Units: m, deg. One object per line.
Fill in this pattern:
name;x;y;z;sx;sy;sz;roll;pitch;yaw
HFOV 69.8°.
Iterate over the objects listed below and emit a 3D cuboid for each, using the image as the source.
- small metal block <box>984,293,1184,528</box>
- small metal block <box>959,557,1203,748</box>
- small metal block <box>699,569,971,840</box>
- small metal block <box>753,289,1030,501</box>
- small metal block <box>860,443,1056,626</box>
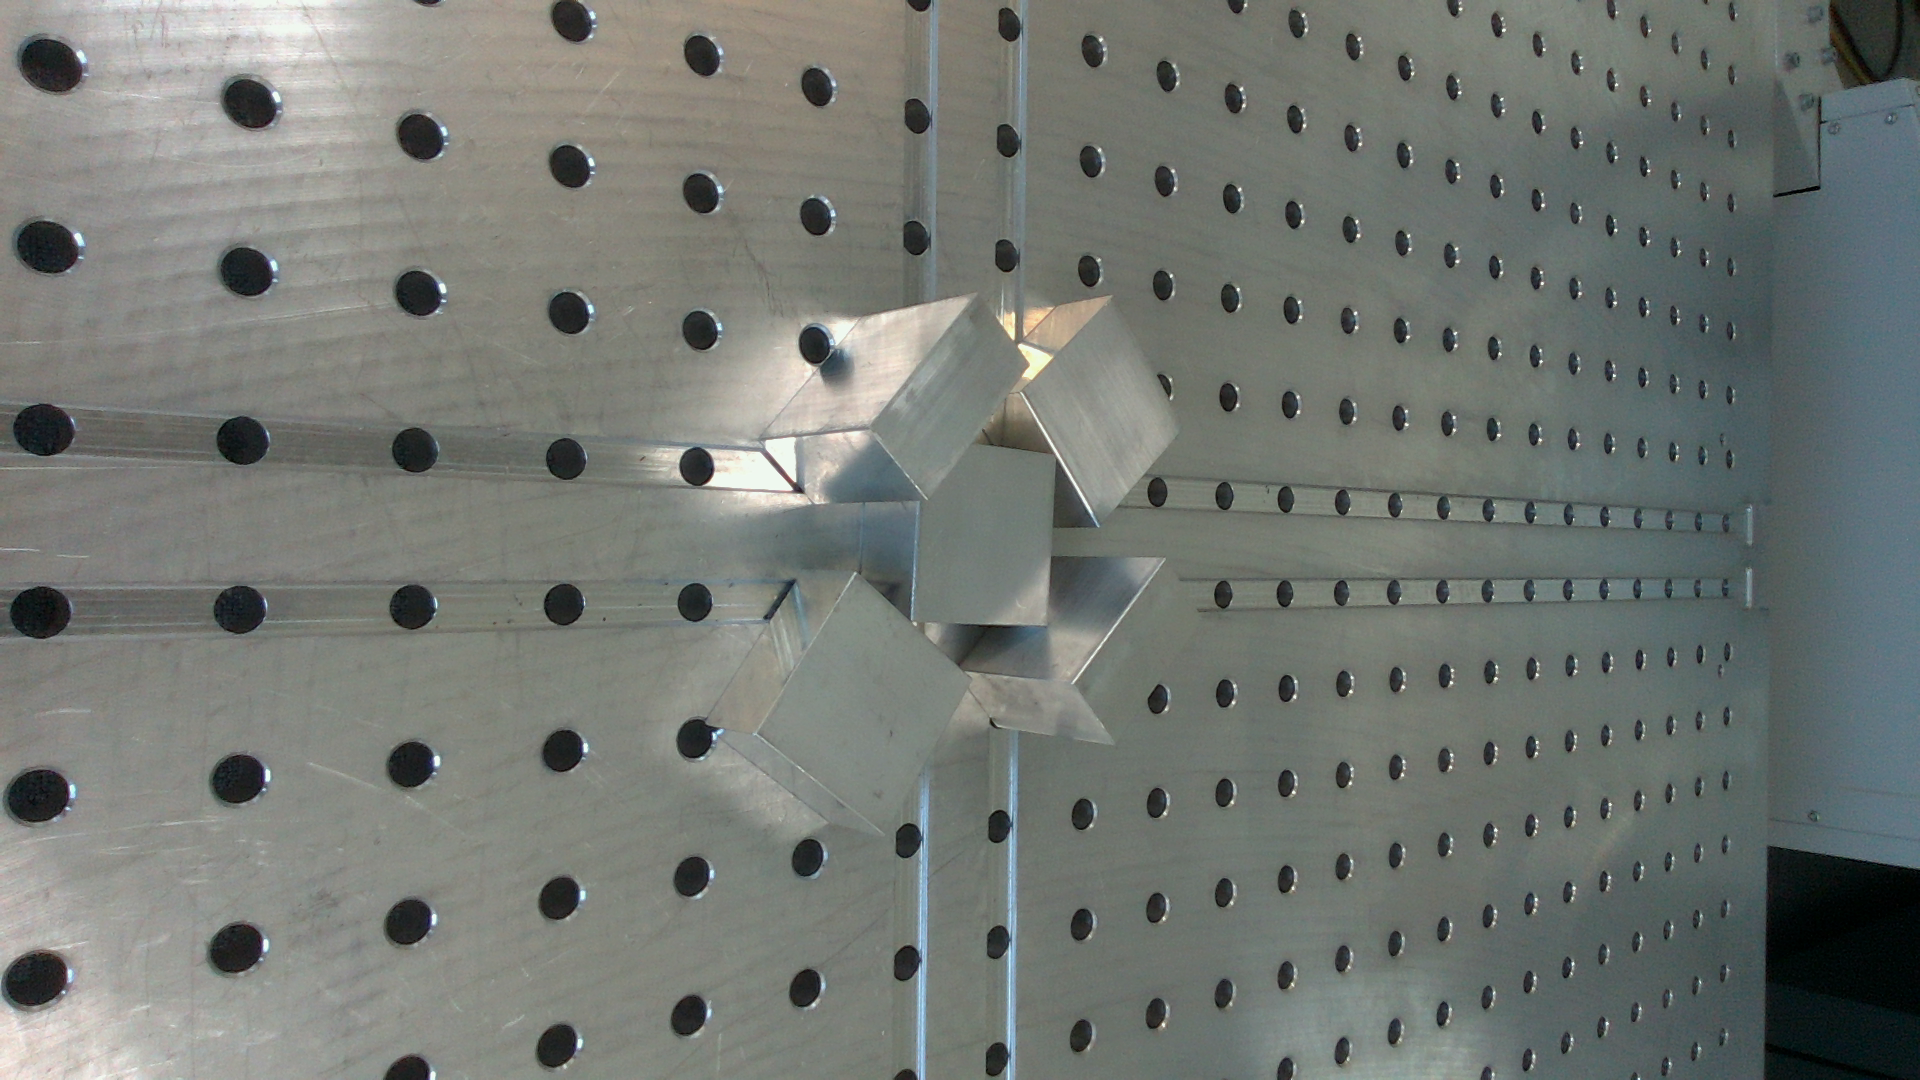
small metal block;0.036;-0.039;0.421;0.050;0.025;0.050;-47;118;-29
small metal block;0.034;0.031;0.404;0.050;0.050;0.025;-50;119;-28
small metal block;-0.032;0.043;0.365;0.050;0.025;0.050;46;62;-31
small metal block;-0.018;-0.037;0.360;0.025;0.050;0.050;52;61;-28
small metal block;0.000;-0.001;0.390;0.050;0.025;0.050;5;86;-38
